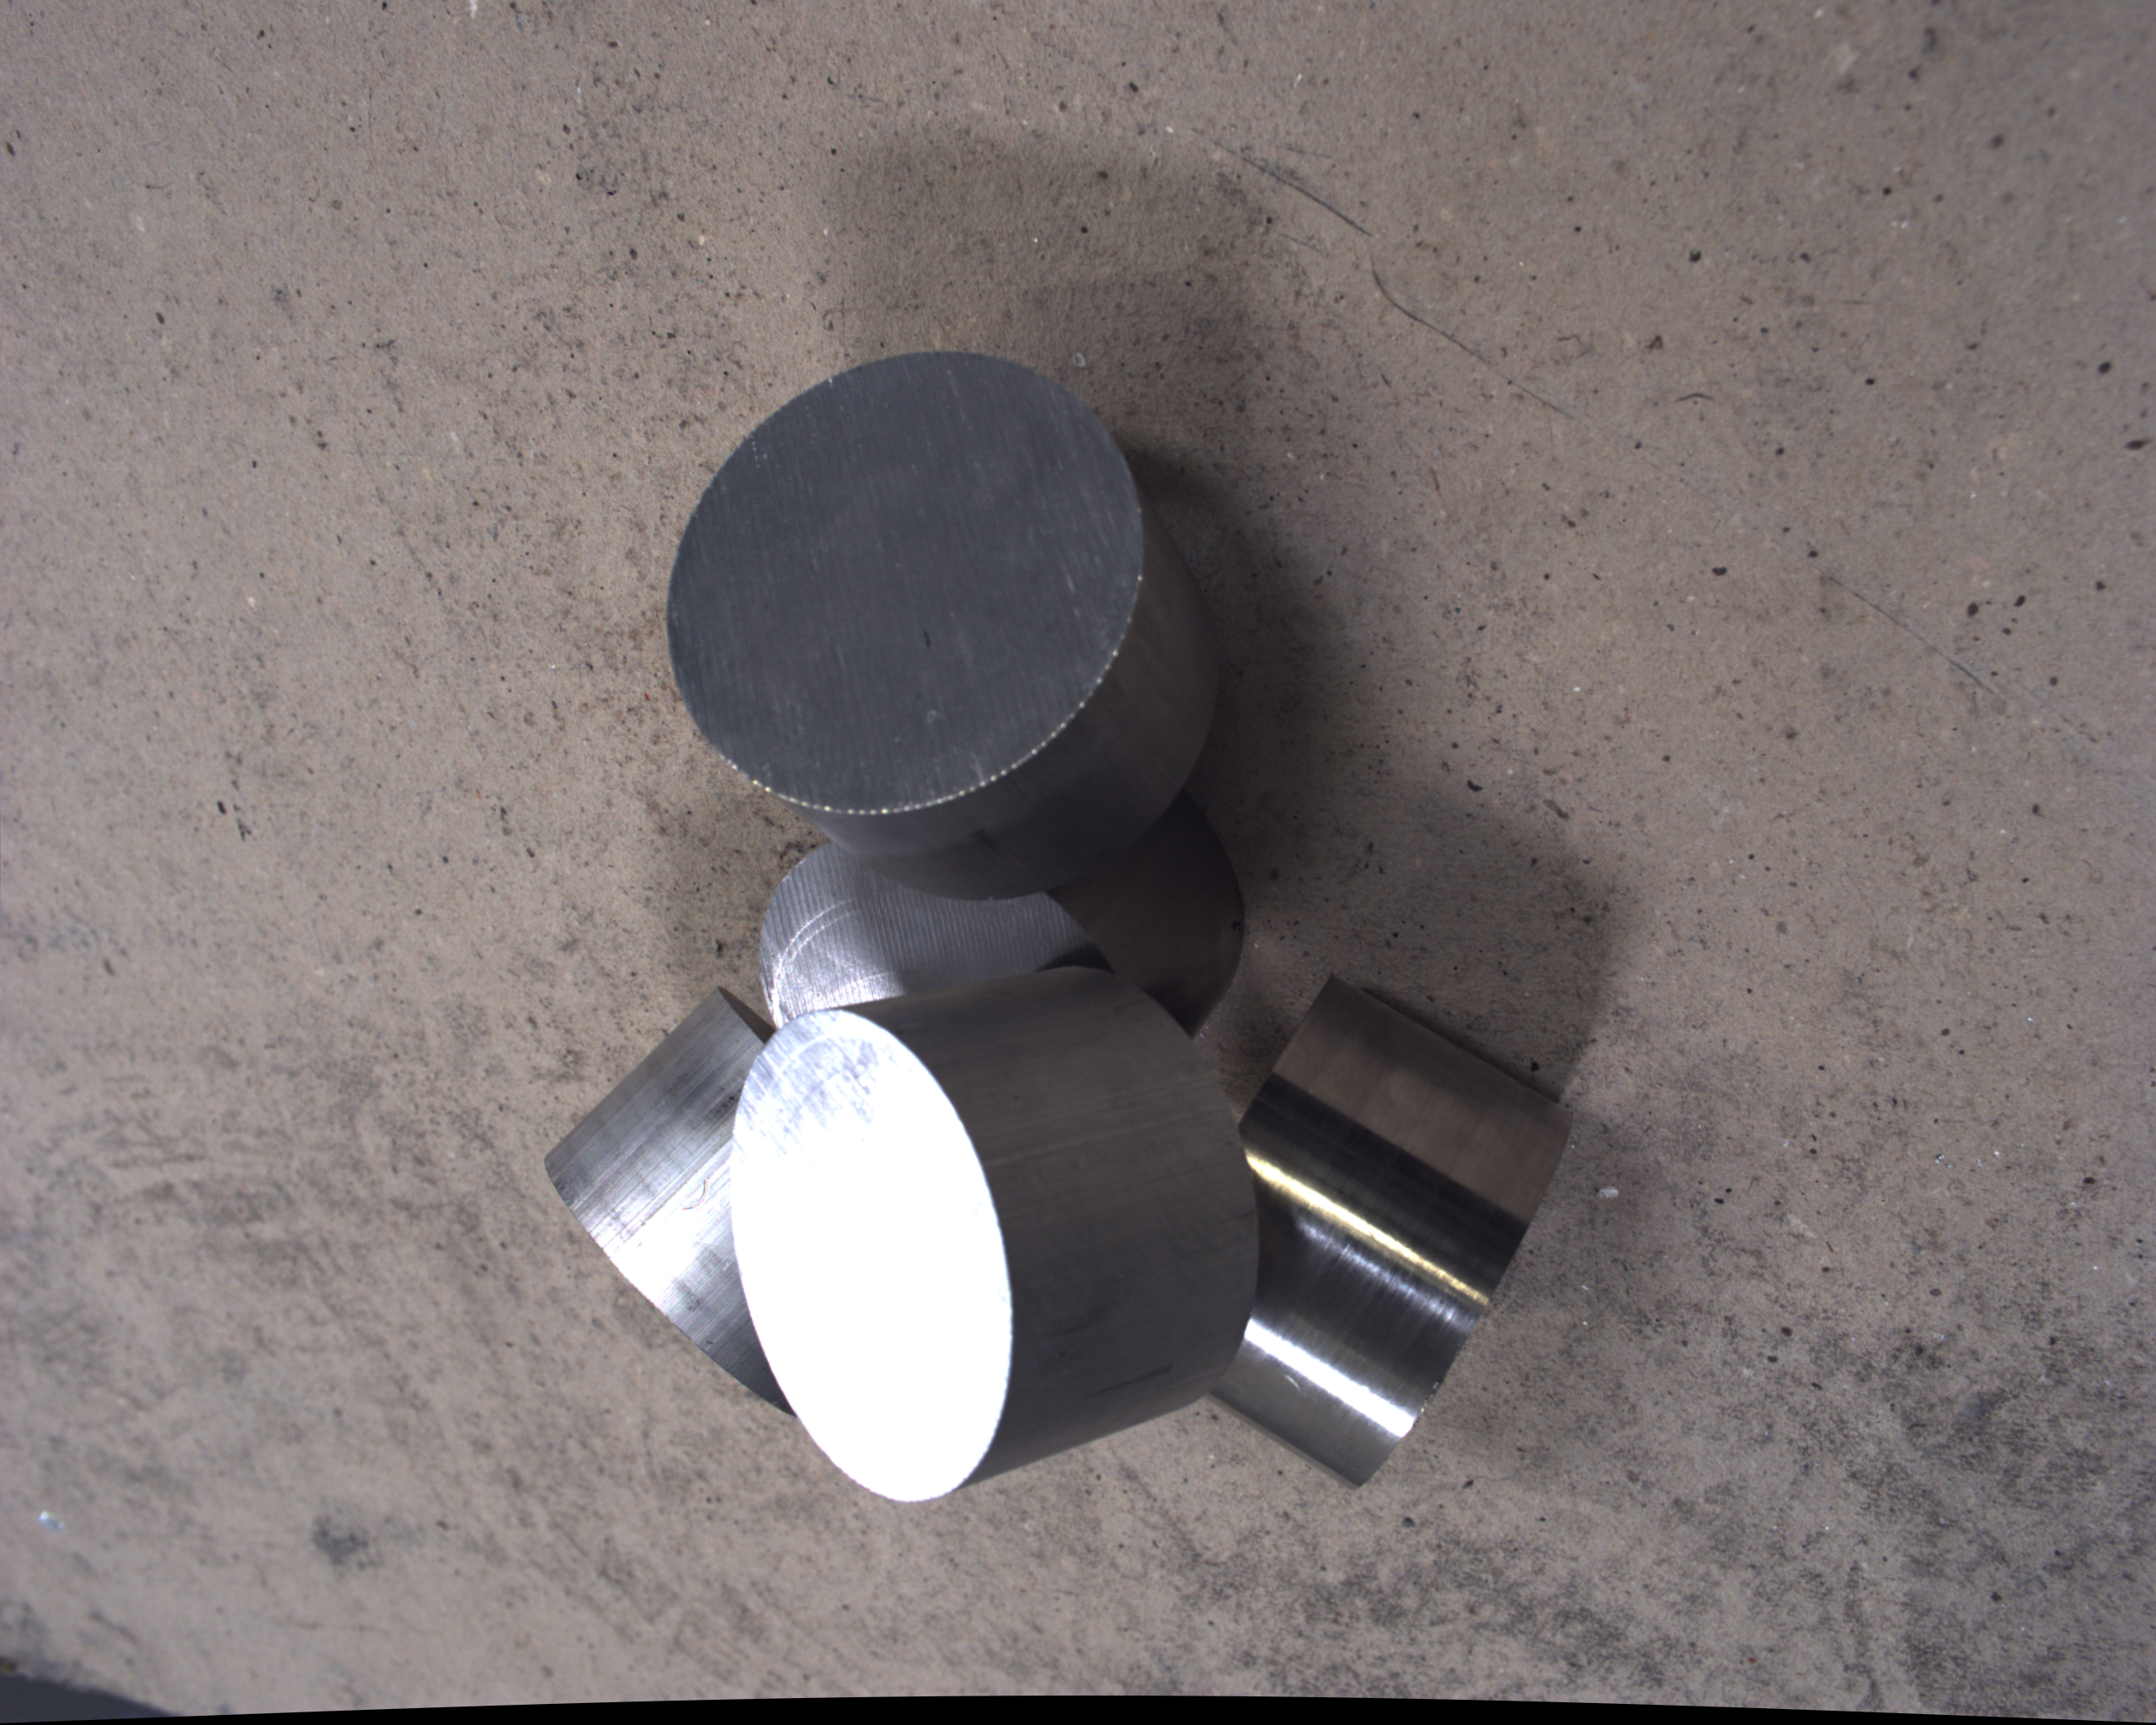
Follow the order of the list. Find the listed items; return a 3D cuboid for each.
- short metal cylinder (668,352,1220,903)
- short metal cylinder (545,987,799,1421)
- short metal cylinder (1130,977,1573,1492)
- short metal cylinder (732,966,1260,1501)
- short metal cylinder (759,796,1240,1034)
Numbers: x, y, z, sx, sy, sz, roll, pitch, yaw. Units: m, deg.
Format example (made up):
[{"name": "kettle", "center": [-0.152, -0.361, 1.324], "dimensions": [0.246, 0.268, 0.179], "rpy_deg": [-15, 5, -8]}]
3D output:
[{"name": "short metal cylinder", "center": [-0.021, -0.038, 0.352], "dimensions": [0.080, 0.080, 0.050], "rpy_deg": [13, 167, 21]}, {"name": "short metal cylinder", "center": [-0.066, 0.072, 0.445], "dimensions": [0.080, 0.050, 0.080], "rpy_deg": [44, 174, 7]}, {"name": "short metal cylinder", "center": [0.049, 0.068, 0.389], "dimensions": [0.050, 0.080, 0.079], "rpy_deg": [30, 128, 8]}, {"name": "short metal cylinder", "center": [-0.016, 0.060, 0.351], "dimensions": [0.080, 0.050, 0.079], "rpy_deg": [11, 105, 49]}, {"name": "short metal cylinder", "center": [-0.015, 0.018, 0.410], "dimensions": [0.080, 0.050, 0.079], "rpy_deg": [13, 123, 21]}]
